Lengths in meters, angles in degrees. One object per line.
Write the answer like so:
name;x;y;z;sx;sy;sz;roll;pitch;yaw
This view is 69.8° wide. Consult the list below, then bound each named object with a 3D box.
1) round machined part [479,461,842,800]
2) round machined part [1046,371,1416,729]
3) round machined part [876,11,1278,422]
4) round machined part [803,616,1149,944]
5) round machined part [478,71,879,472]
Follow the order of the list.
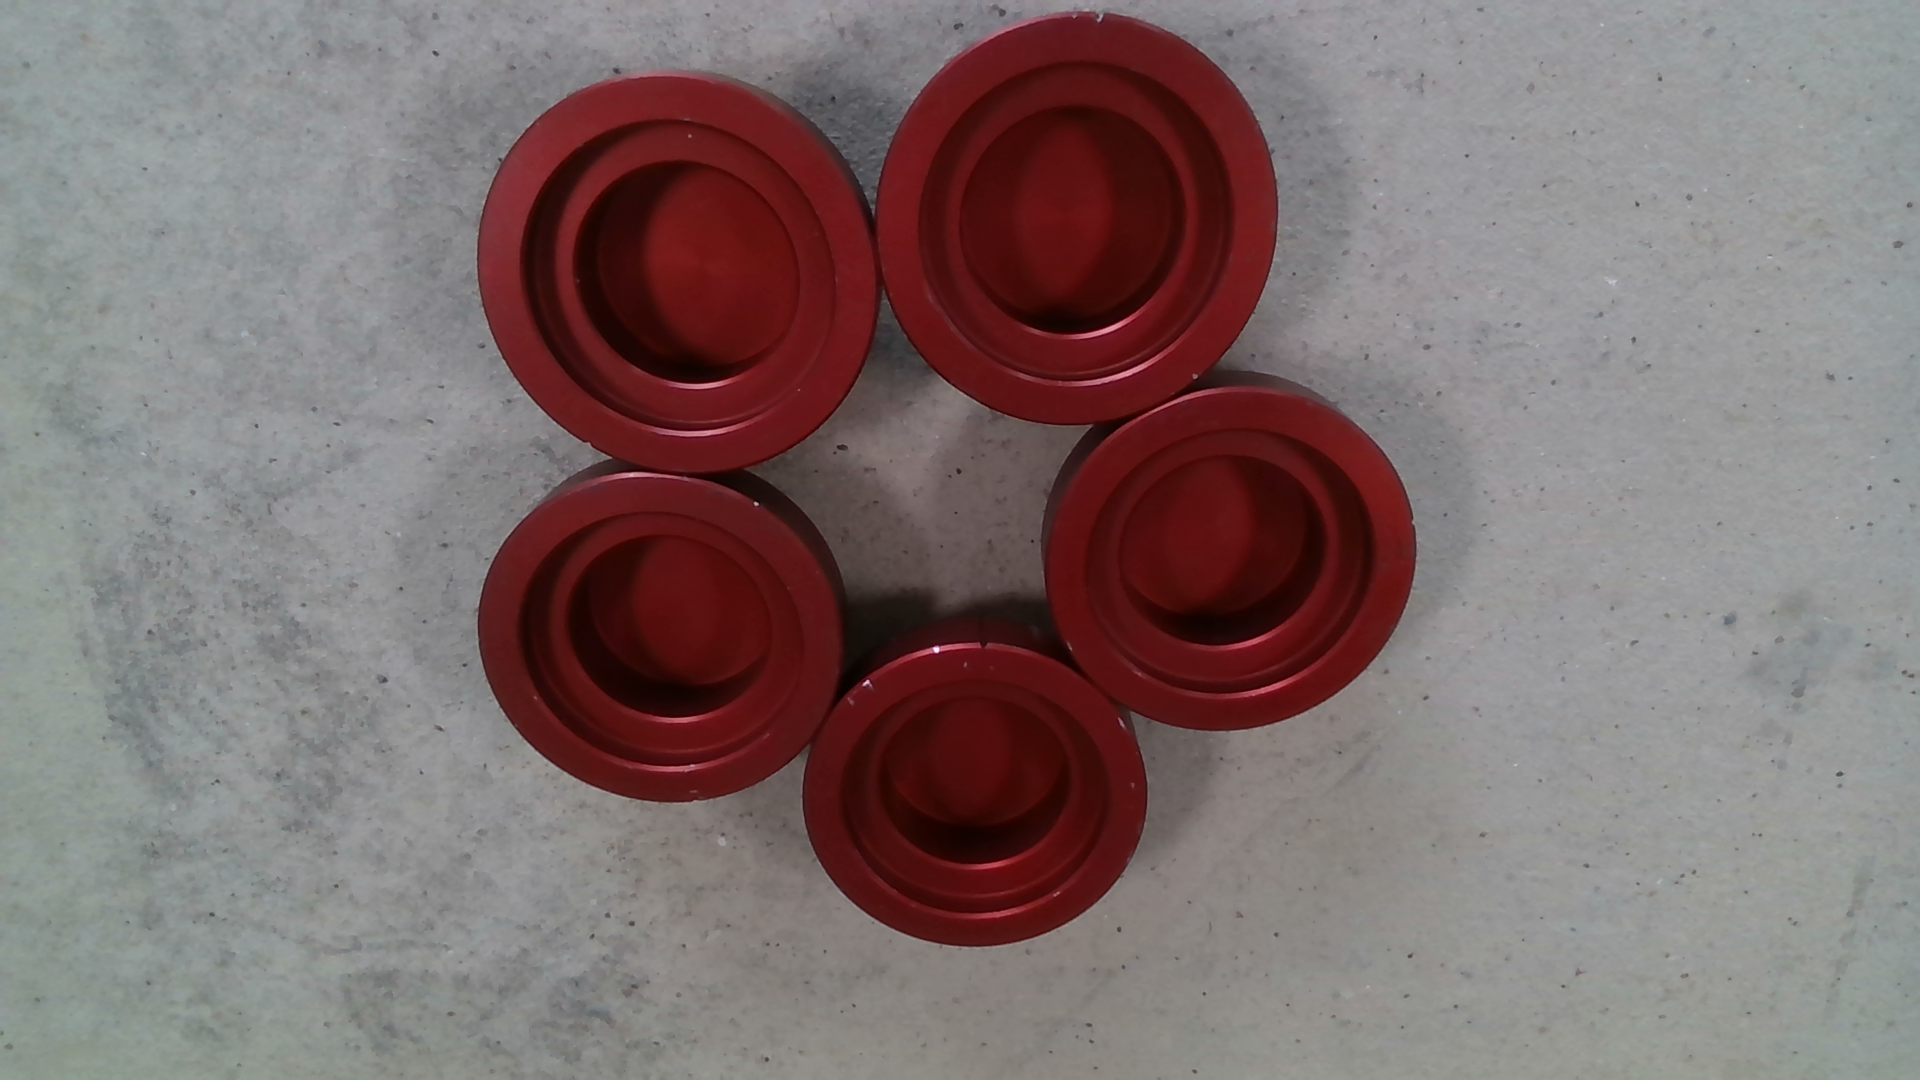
round machined part;-0.081;0.021;0.393;0.098;0.042;0.098;0;111;-1
round machined part;0.072;0.000;0.384;0.098;0.042;0.098;-1;111;-1
round machined part;0.028;-0.083;0.354;0.098;0.042;0.098;-1;110;-1
round machined part;0.004;0.067;0.408;0.098;0.042;0.098;-1;111;-1
round machined part;-0.070;-0.070;0.358;0.098;0.042;0.098;-1;111;-1
